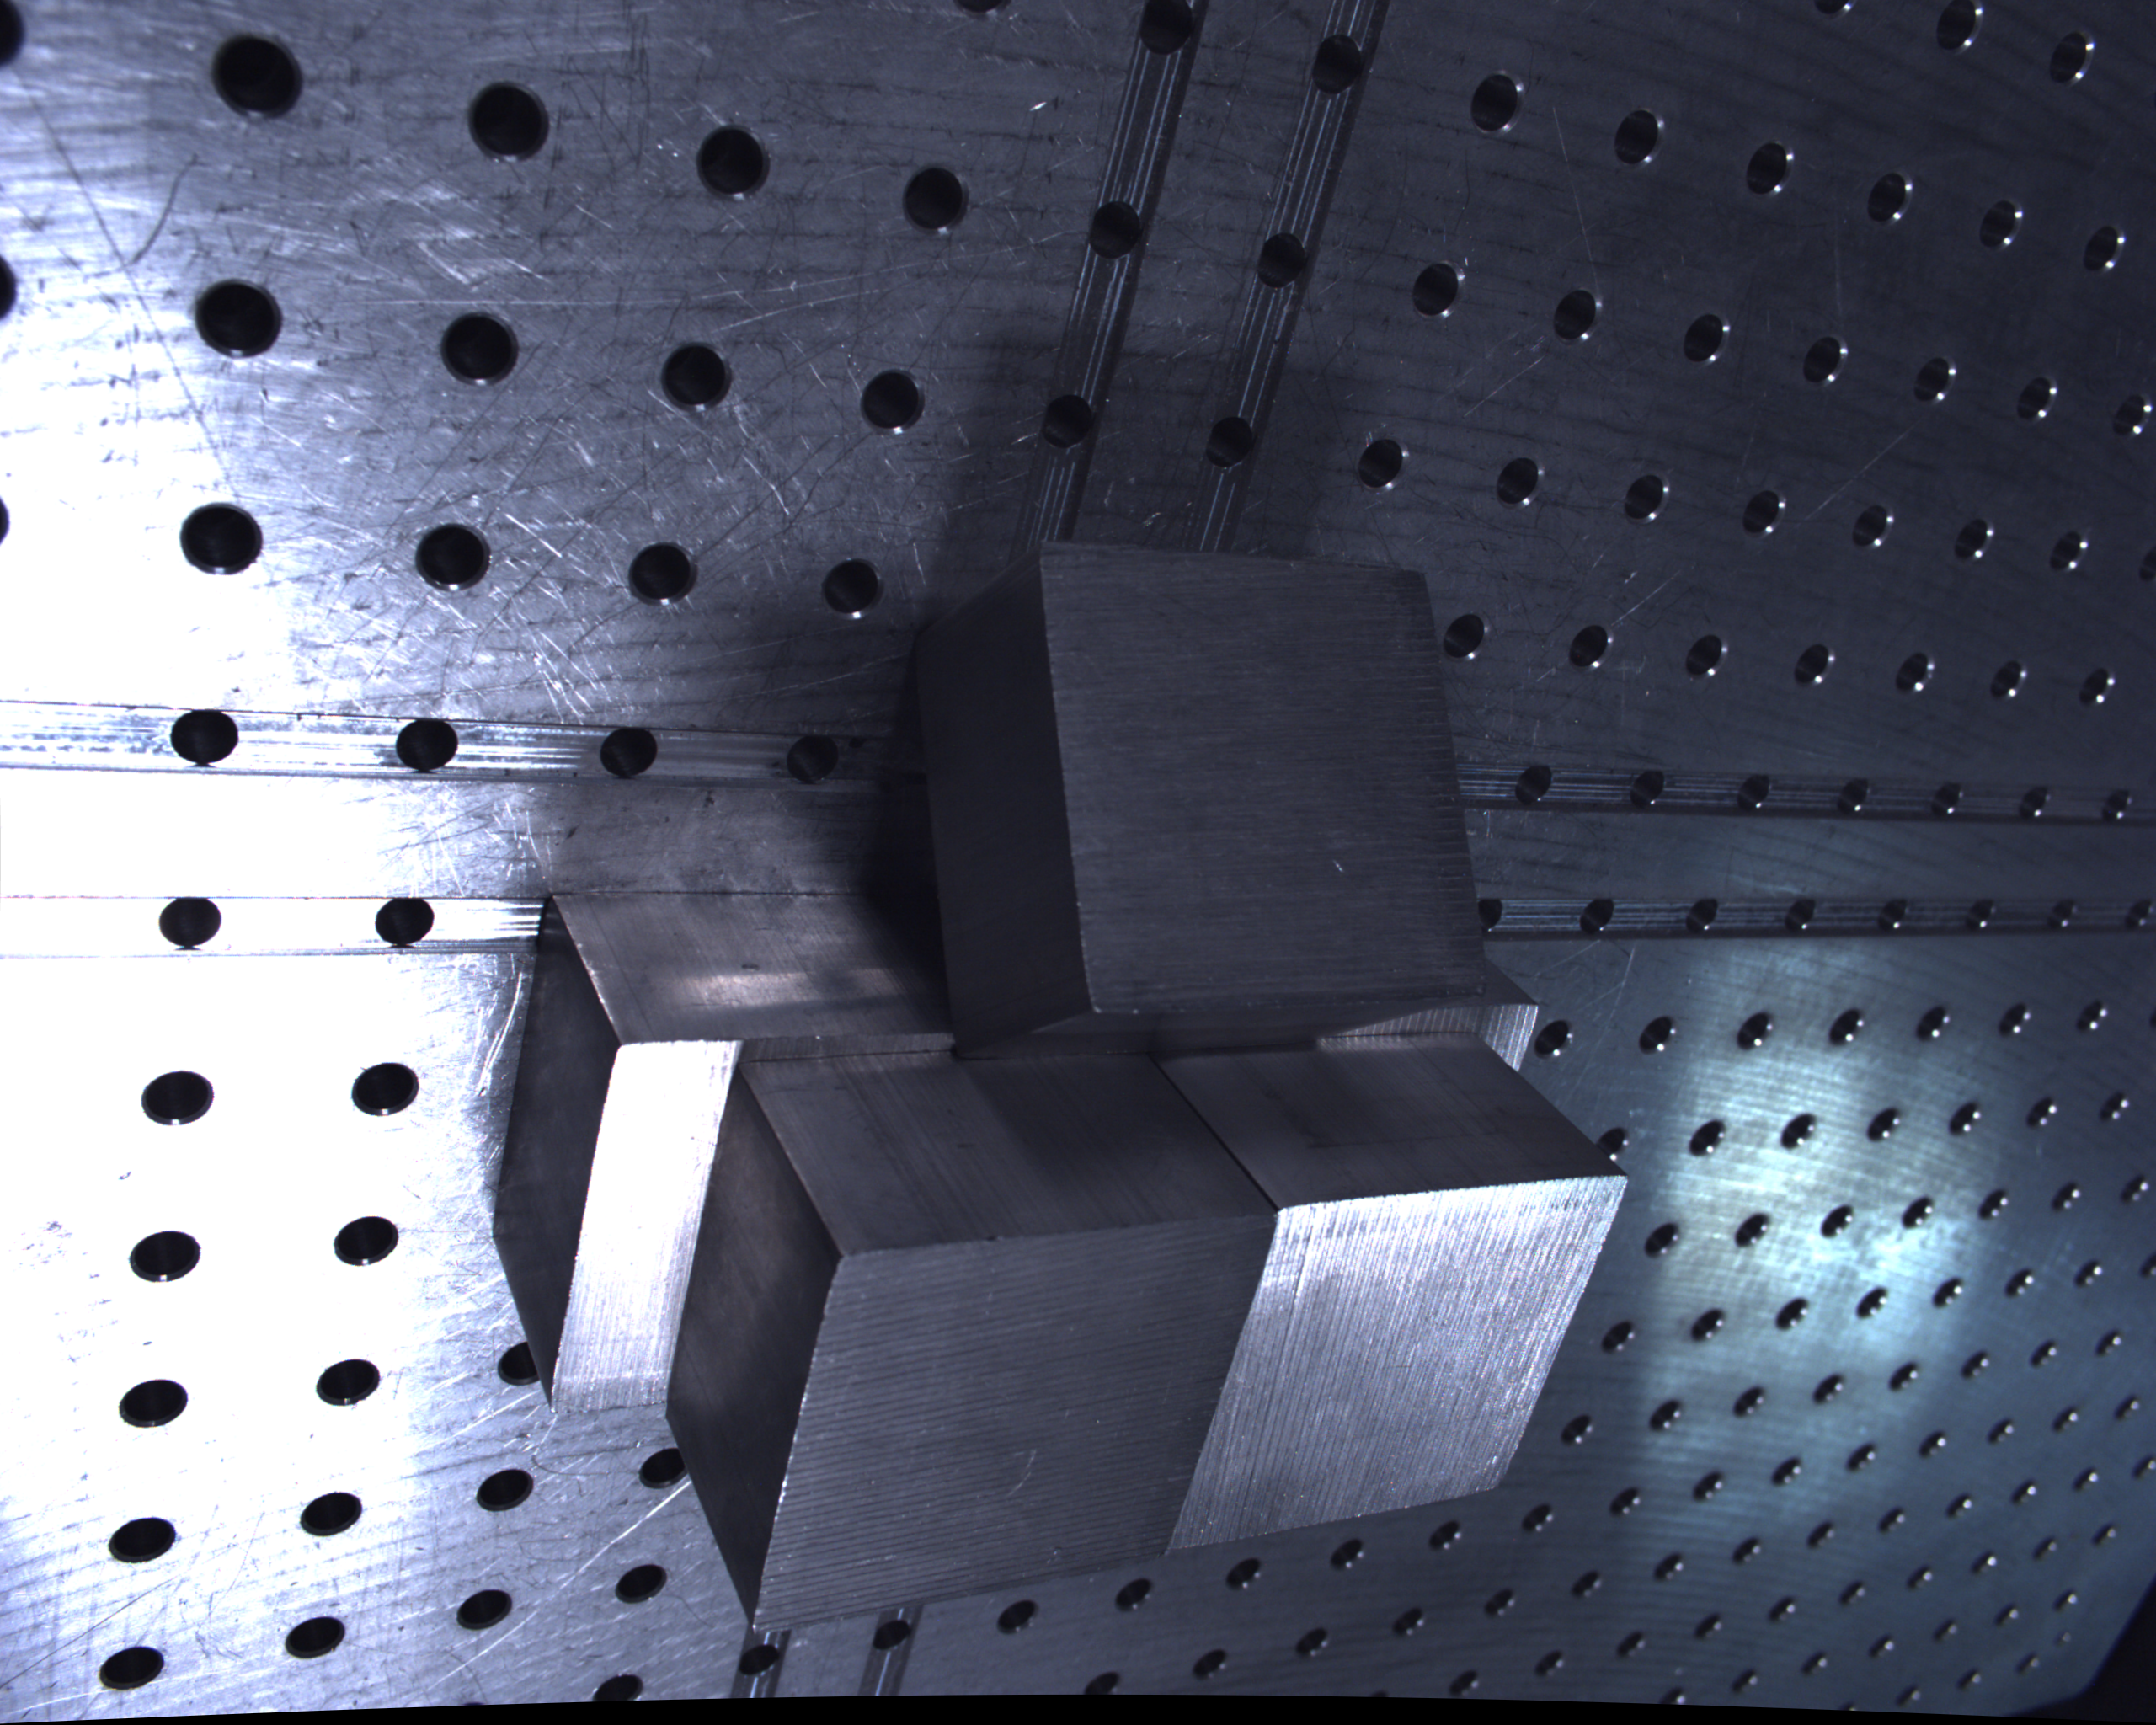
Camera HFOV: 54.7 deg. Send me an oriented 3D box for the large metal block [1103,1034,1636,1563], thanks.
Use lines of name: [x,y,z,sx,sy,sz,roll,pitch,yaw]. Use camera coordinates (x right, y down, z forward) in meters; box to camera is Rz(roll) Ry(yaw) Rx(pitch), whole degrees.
large metal block: [0.050,0.083,0.408,0.081,0.050,0.079,0,119,-29]

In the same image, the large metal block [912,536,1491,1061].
large metal block: [0.021,-0.009,0.376,0.081,0.050,0.080,0,76,-29]

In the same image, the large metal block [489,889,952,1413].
large metal block: [-0.061,0.052,0.396,0.081,0.050,0.079,1,118,-30]

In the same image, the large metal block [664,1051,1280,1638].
large metal block: [-0.021,0.081,0.367,0.081,0.050,0.079,0,119,-29]

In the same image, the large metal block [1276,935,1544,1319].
large metal block: [0.043,0.053,0.452,0.081,0.050,0.079,-1,119,-28]
